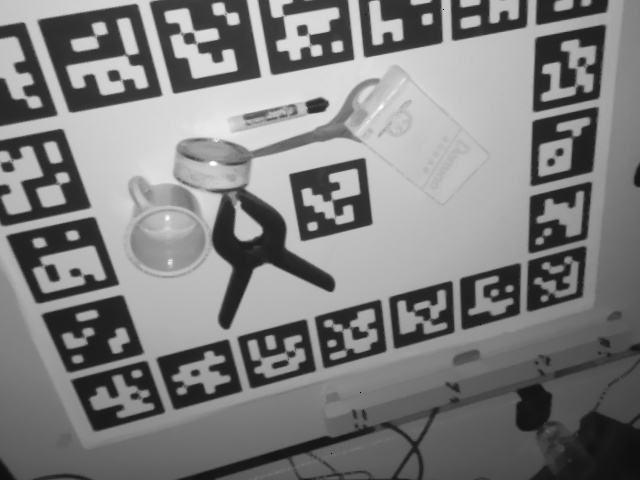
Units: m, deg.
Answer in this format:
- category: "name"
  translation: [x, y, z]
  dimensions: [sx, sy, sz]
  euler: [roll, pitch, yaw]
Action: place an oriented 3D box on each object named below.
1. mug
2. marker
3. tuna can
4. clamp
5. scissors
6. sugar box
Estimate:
- category: "mug"
  translation: [-0.159, -0.010, 0.808]
  dimensions: [0.093, 0.081, 0.117]
  euler: [-36, 123, 7]
- category: "marker"
  translation: [-0.019, -0.133, 0.811]
  dimensions: [0.121, 0.019, 0.019]
  euler: [-16, 119, -6]
- category: "tuna can"
  translation: [-0.107, -0.067, 0.786]
  dimensions: [0.086, 0.086, 0.033]
  euler: [3, 117, -15]
- category: "clamp"
  translation: [-0.063, 0.034, 0.889]
  dimensions: [0.166, 0.037, 0.202]
  euler: [-22, 119, -2]
- category: "scissors"
  translation: [0.032, -0.107, 0.835]
  dimensions: [0.203, 0.016, 0.087]
  euler: [-21, 124, -1]
- category: "sugar box"
  translation: [0.142, -0.103, 0.846]
  dimensions: [0.092, 0.045, 0.177]
  euler: [-45, 124, 12]
